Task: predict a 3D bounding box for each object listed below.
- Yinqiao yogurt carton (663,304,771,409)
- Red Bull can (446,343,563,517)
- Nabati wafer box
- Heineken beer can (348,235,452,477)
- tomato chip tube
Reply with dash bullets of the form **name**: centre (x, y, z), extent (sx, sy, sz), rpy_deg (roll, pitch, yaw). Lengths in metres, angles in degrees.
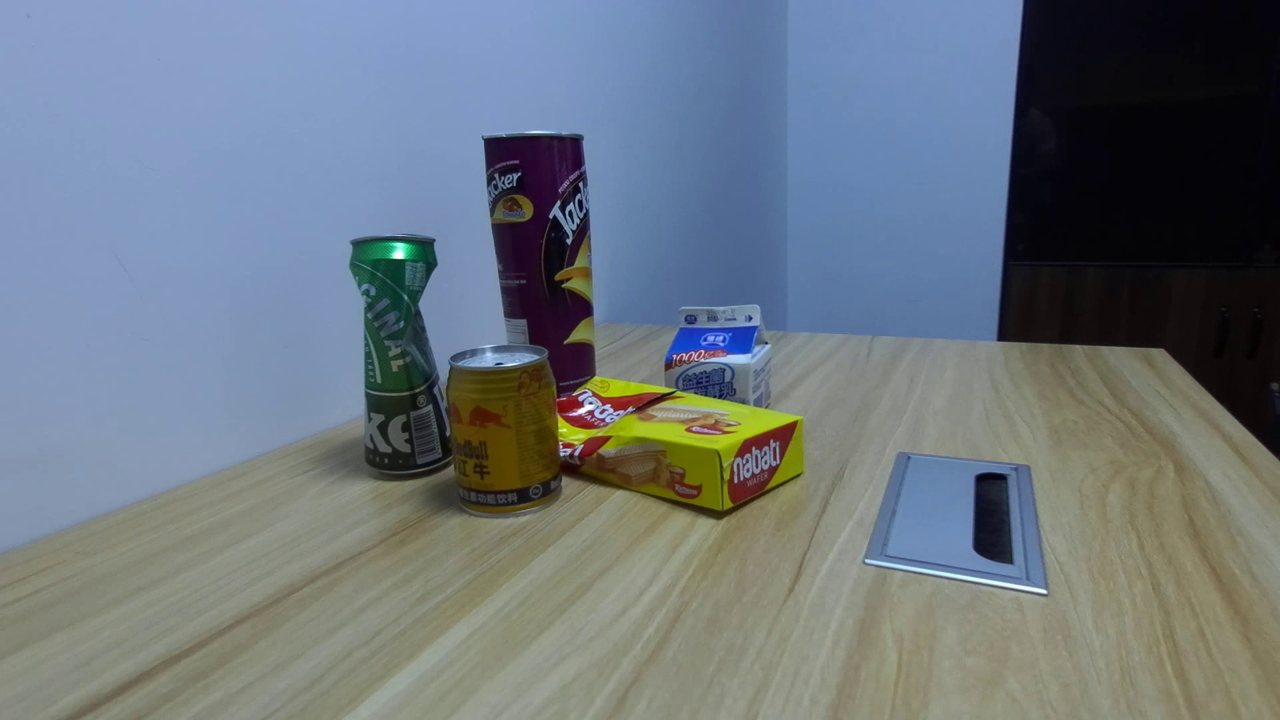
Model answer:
- **Yinqiao yogurt carton**: centre (0.066, 0.000, 0.589), extent (0.075, 0.092, 0.074), rpy_deg (2, 15, 23)
- **Red Bull can**: centre (-0.083, 0.041, 0.440), extent (0.067, 0.093, 0.067), rpy_deg (-1, 14, 1)
- **Nabati wafer box**: centre (0.001, 0.052, 0.495), extent (0.203, 0.042, 0.107), rpy_deg (9, 16, 43)
- **Heineken beer can**: centre (-0.166, -0.003, 0.493), extent (0.066, 0.164, 0.078), rpy_deg (5, 12, 31)
- **tomato chip tube**: centre (-0.082, -0.076, 0.627), extent (0.077, 0.235, 0.076), rpy_deg (-2, 13, 9)
